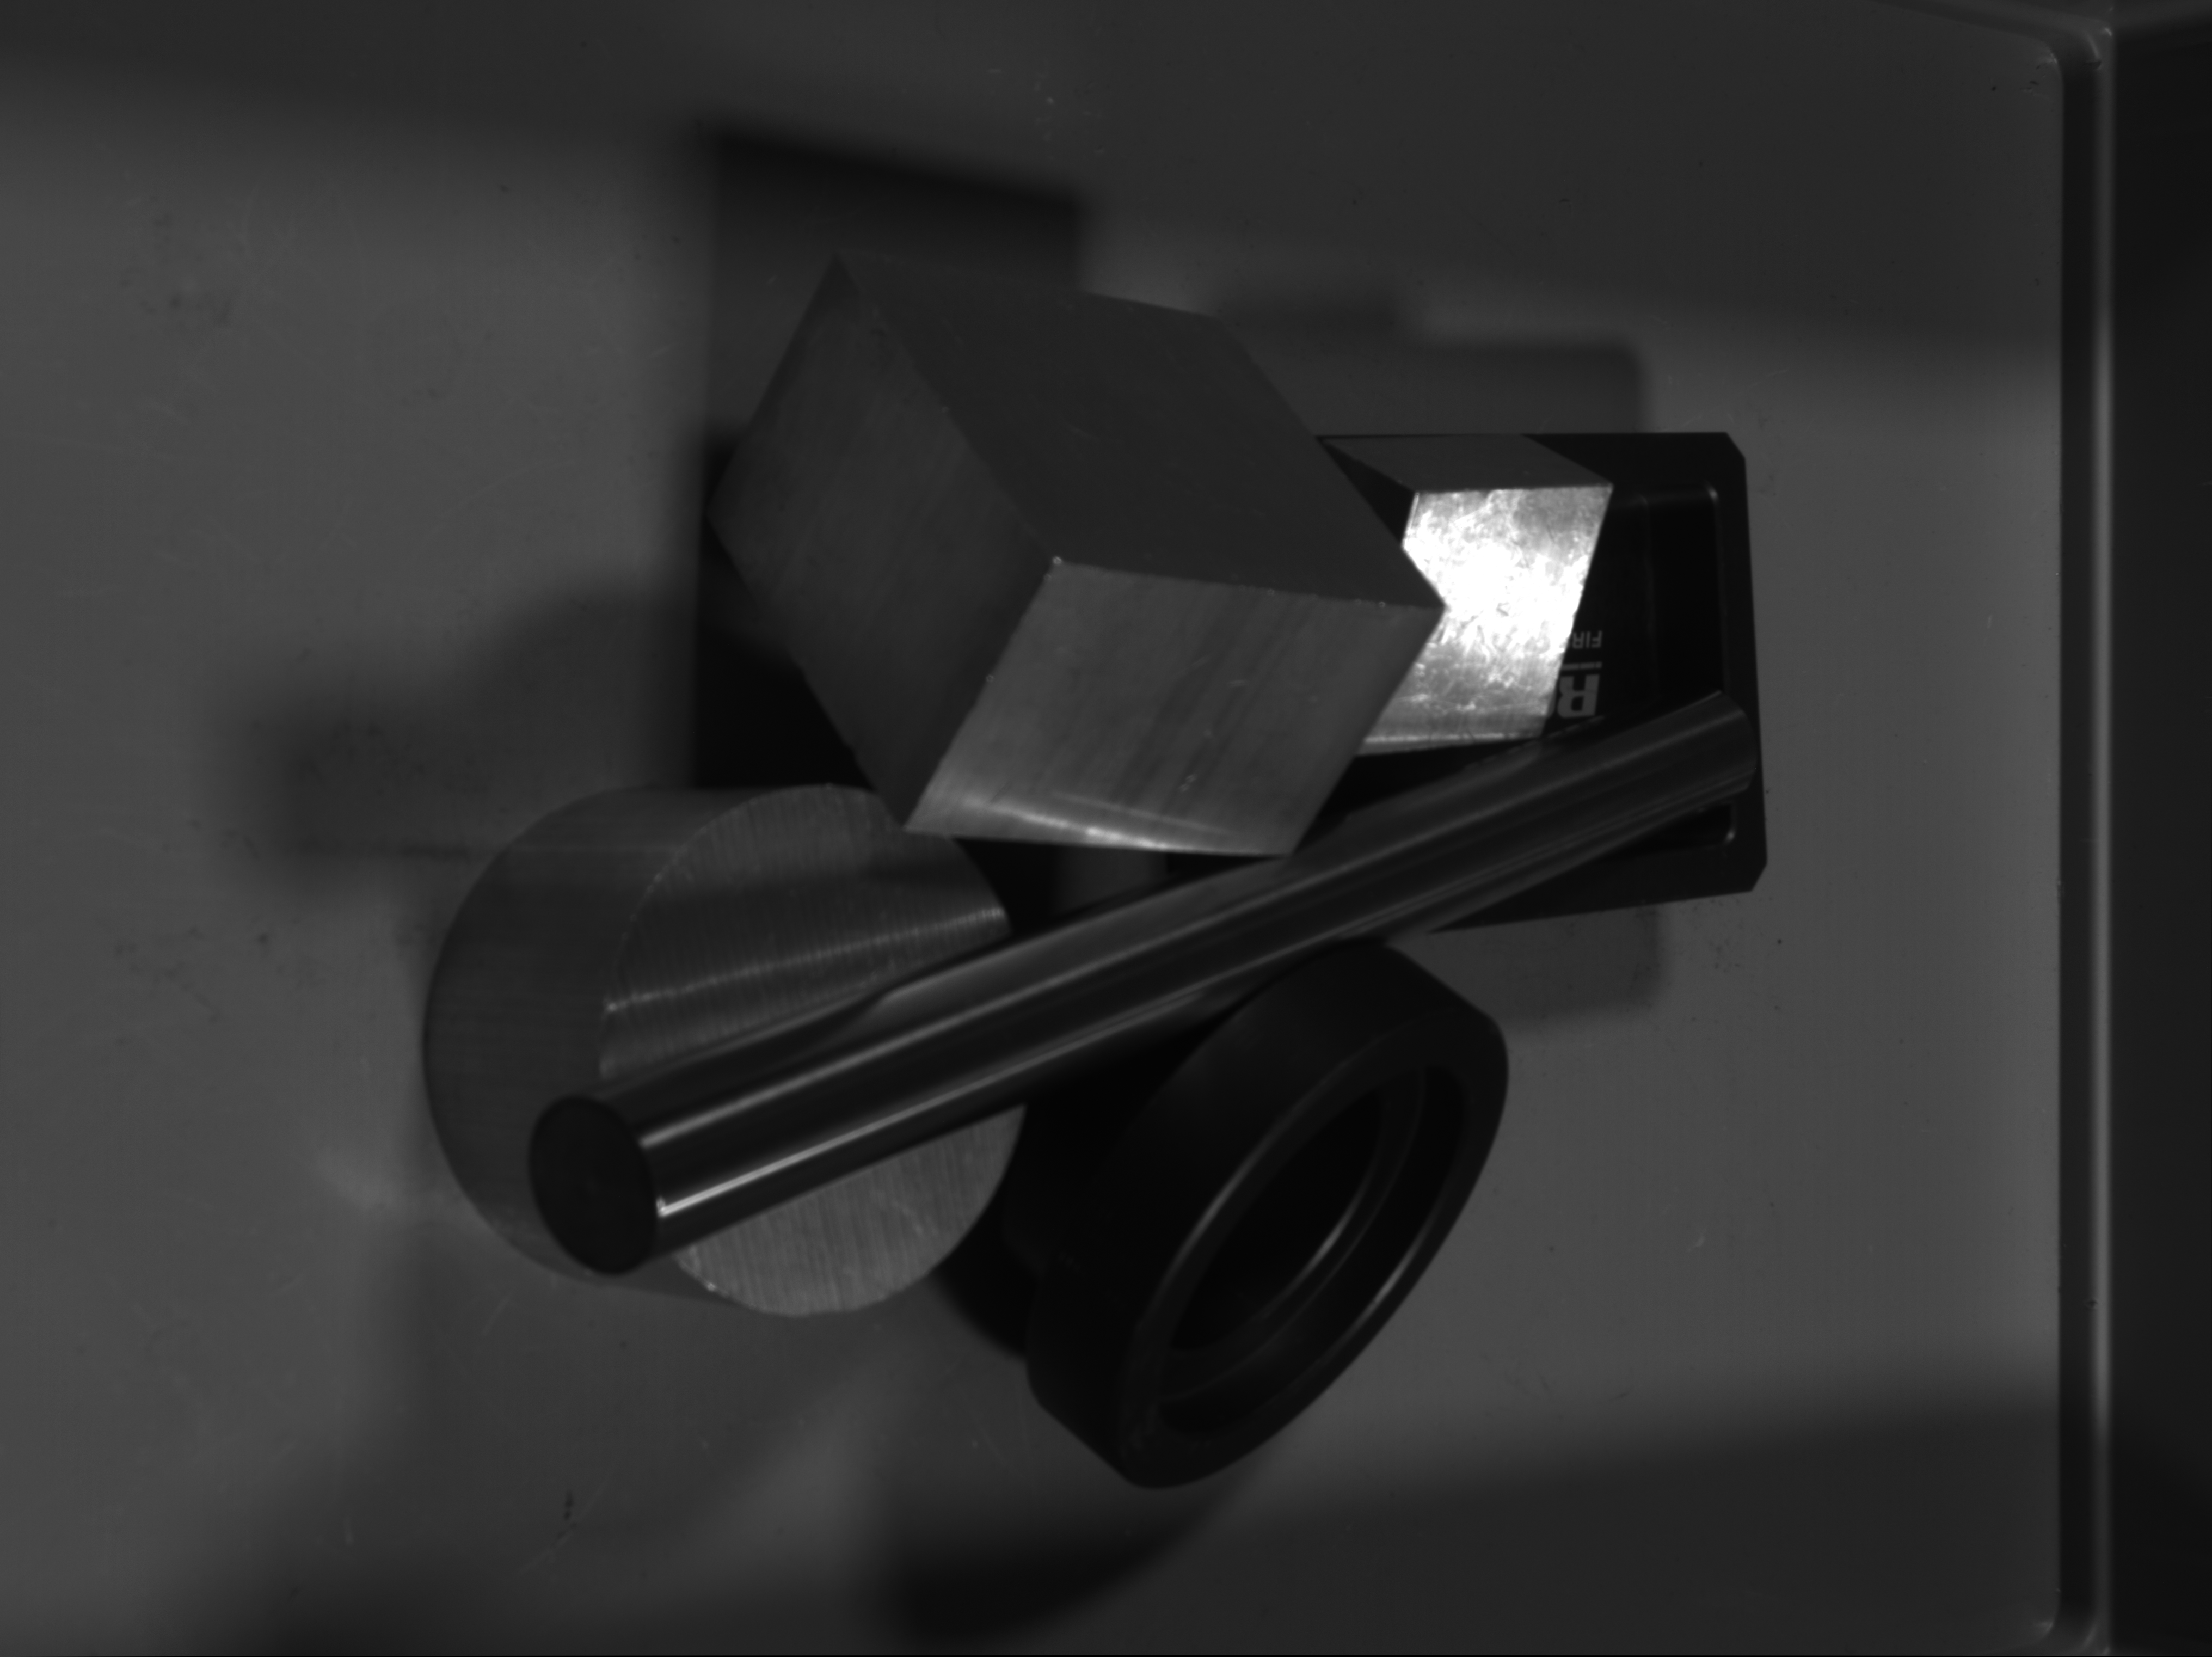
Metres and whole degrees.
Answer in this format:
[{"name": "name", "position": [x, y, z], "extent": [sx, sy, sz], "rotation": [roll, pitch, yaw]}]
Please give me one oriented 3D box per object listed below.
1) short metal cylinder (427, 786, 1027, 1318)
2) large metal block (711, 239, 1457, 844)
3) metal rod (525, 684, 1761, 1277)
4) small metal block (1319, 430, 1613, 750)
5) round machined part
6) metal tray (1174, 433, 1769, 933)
[{"name": "short metal cylinder", "position": [-0.058, 0.034, 0.570], "extent": [0.080, 0.050, 0.080], "rotation": [0, 90, -40]}, {"name": "large metal block", "position": [-0.005, -0.045, 0.587], "extent": [0.080, 0.080, 0.050], "rotation": [4, 130, -39]}, {"name": "metal rod", "position": [0.024, 0.016, 0.602], "extent": [0.301, 0.025, 0.025], "rotation": [-19, 102, -49]}, {"name": "small metal block", "position": [0.058, -0.043, 0.657], "extent": [0.050, 0.025, 0.050], "rotation": [-6, 120, -39]}, {"name": "round machined part", "position": [0.021, 0.060, 0.621], "extent": [0.098, 0.042, 0.098], "rotation": [-37, 148, -28]}, {"name": "metal tray", "position": [0.069, -0.028, 0.690], "extent": [0.130, 0.030, 0.090], "rotation": [-6, 94, -40]}]
